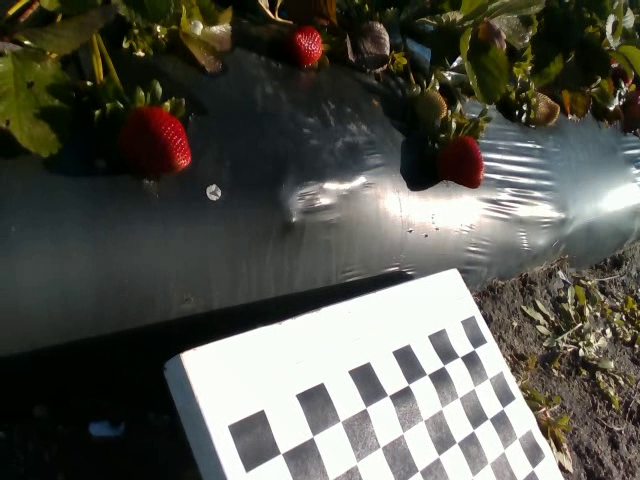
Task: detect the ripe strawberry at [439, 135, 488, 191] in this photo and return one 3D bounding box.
[{"bbox_3d":[0.119,-0.061,0.506,0.042,0.059,0.042,20,-51,-40],"label":"ripe strawberry"}]

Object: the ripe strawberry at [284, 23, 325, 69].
[{"bbox_3d":[-0.014,-0.156,0.481,0.035,0.035,0.046,-32,-15,30],"label":"ripe strawberry"}]

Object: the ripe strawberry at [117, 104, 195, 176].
[{"bbox_3d":[-0.089,-0.053,0.340,0.045,0.042,0.055,4,30,-49],"label":"ripe strawberry"}]
